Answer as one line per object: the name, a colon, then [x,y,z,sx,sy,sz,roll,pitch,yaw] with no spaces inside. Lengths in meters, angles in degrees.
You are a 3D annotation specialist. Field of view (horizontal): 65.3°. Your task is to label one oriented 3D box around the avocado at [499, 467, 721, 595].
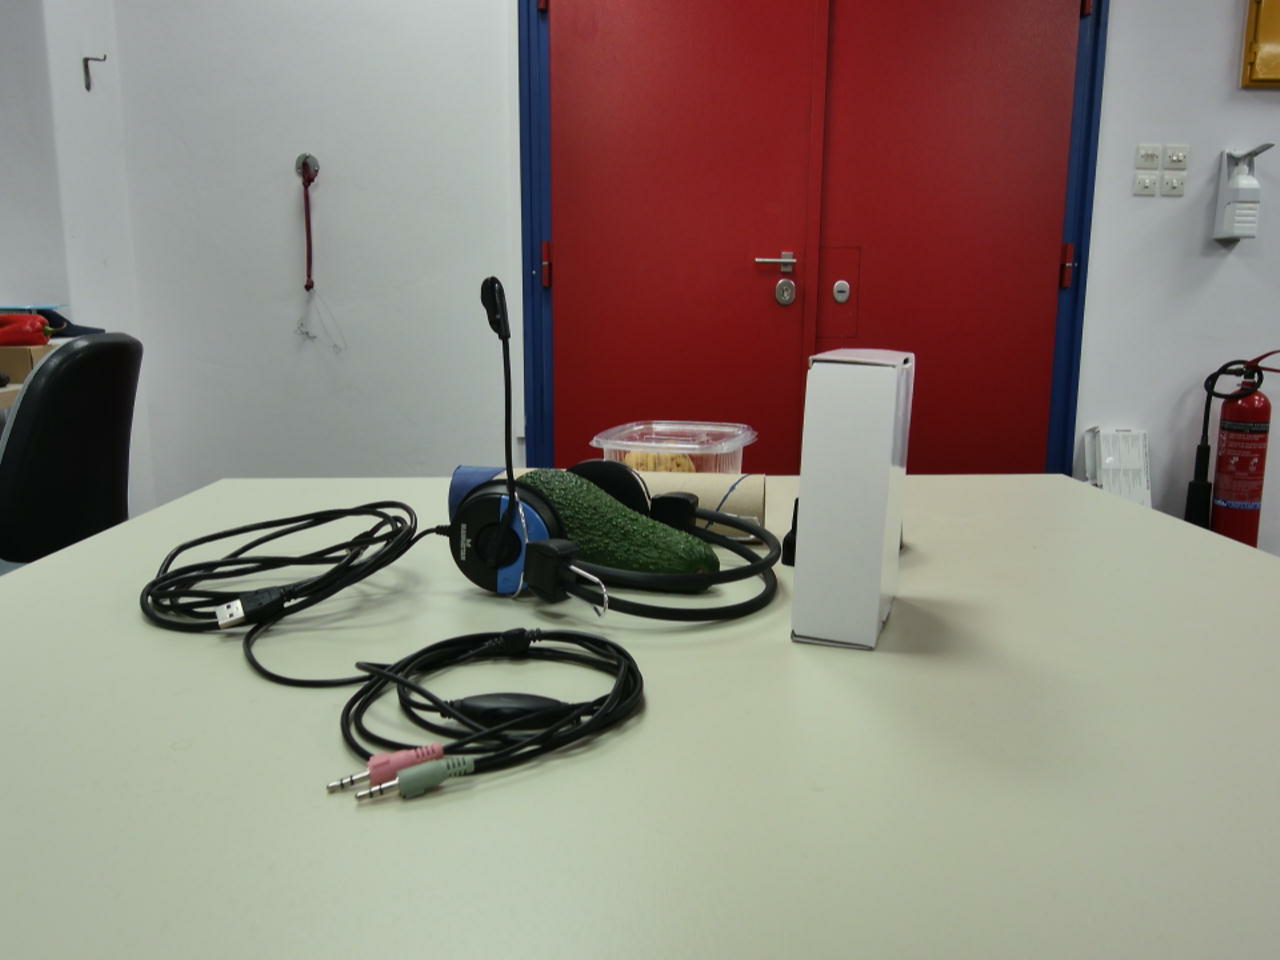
avocado: [-0.018,0.028,0.591,0.141,0.067,0.063,2,8,14]
